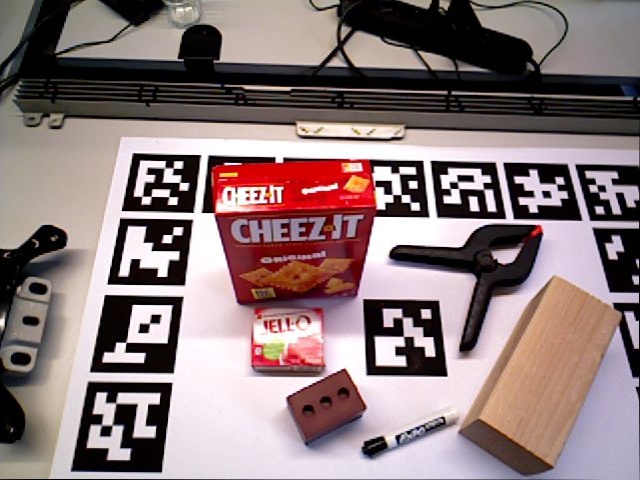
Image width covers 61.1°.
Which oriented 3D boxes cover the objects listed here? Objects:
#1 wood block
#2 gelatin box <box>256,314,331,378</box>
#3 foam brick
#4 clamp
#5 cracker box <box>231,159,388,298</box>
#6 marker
[{"bbox_3d":[0.260,0.162,0.618,0.090,0.093,0.202,32,64,16],"label":"wood block"},{"bbox_3d":[-0.032,0.129,0.658,0.089,0.030,0.072,0,65,-2],"label":"gelatin box"},{"bbox_3d":[0.009,0.195,0.611,0.077,0.052,0.052,-22,68,-12],"label":"foam brick"},{"bbox_3d":[0.220,0.039,0.704,0.200,0.037,0.165,-28,68,-14],"label":"clamp"},{"bbox_3d":[-0.013,-0.007,0.614,0.163,0.218,0.071,-1,61,-5],"label":"cracker box"},{"bbox_3d":[0.098,0.231,0.613,0.120,0.020,0.019,-17,67,-10],"label":"marker"}]
